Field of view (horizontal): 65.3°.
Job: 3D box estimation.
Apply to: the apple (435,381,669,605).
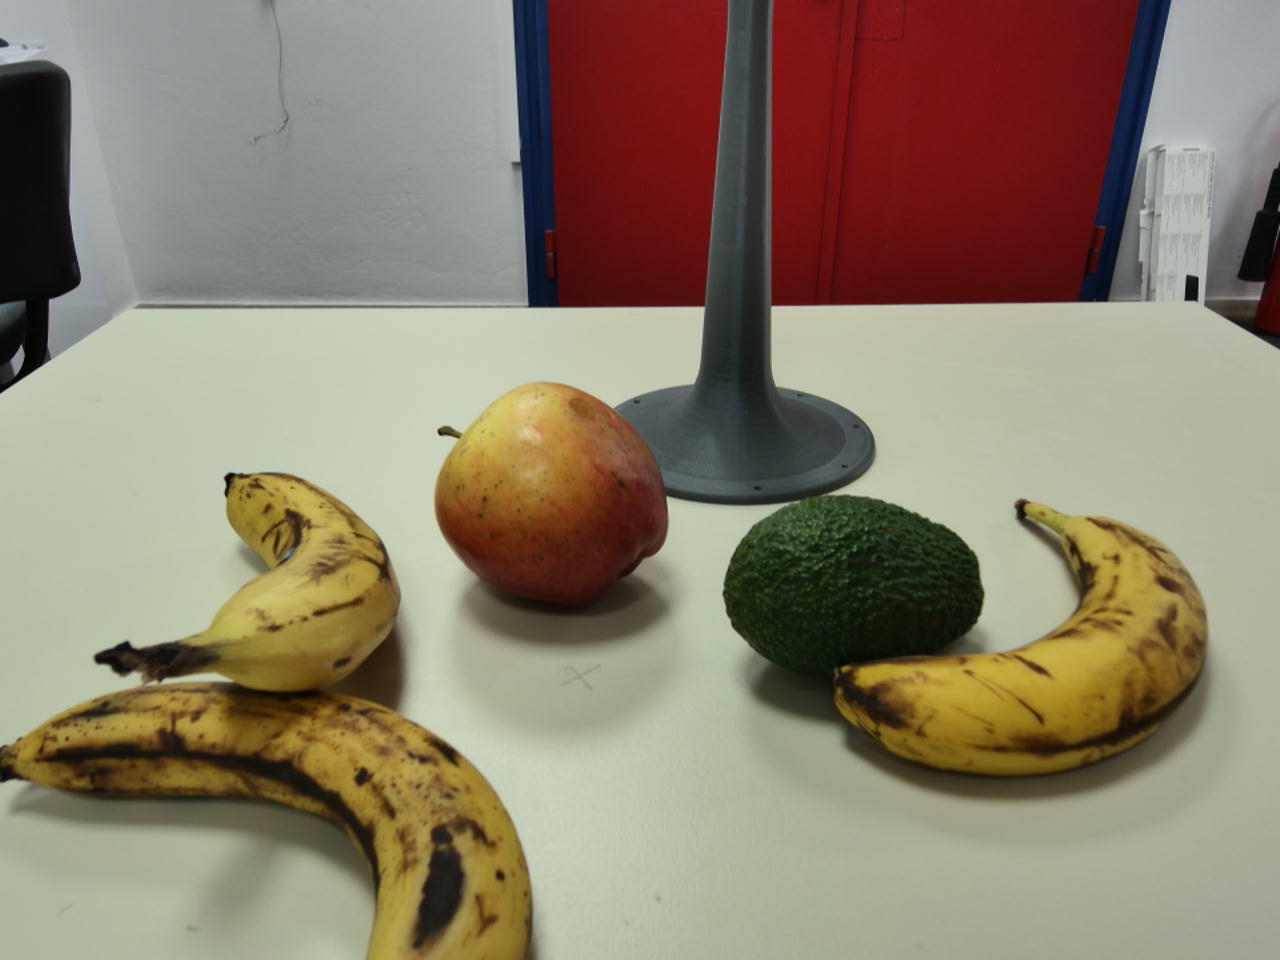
[{"bbox_3d":[-0.037,0.005,0.399,0.086,0.084,0.093,-16,29,-32],"label":"apple"}]
